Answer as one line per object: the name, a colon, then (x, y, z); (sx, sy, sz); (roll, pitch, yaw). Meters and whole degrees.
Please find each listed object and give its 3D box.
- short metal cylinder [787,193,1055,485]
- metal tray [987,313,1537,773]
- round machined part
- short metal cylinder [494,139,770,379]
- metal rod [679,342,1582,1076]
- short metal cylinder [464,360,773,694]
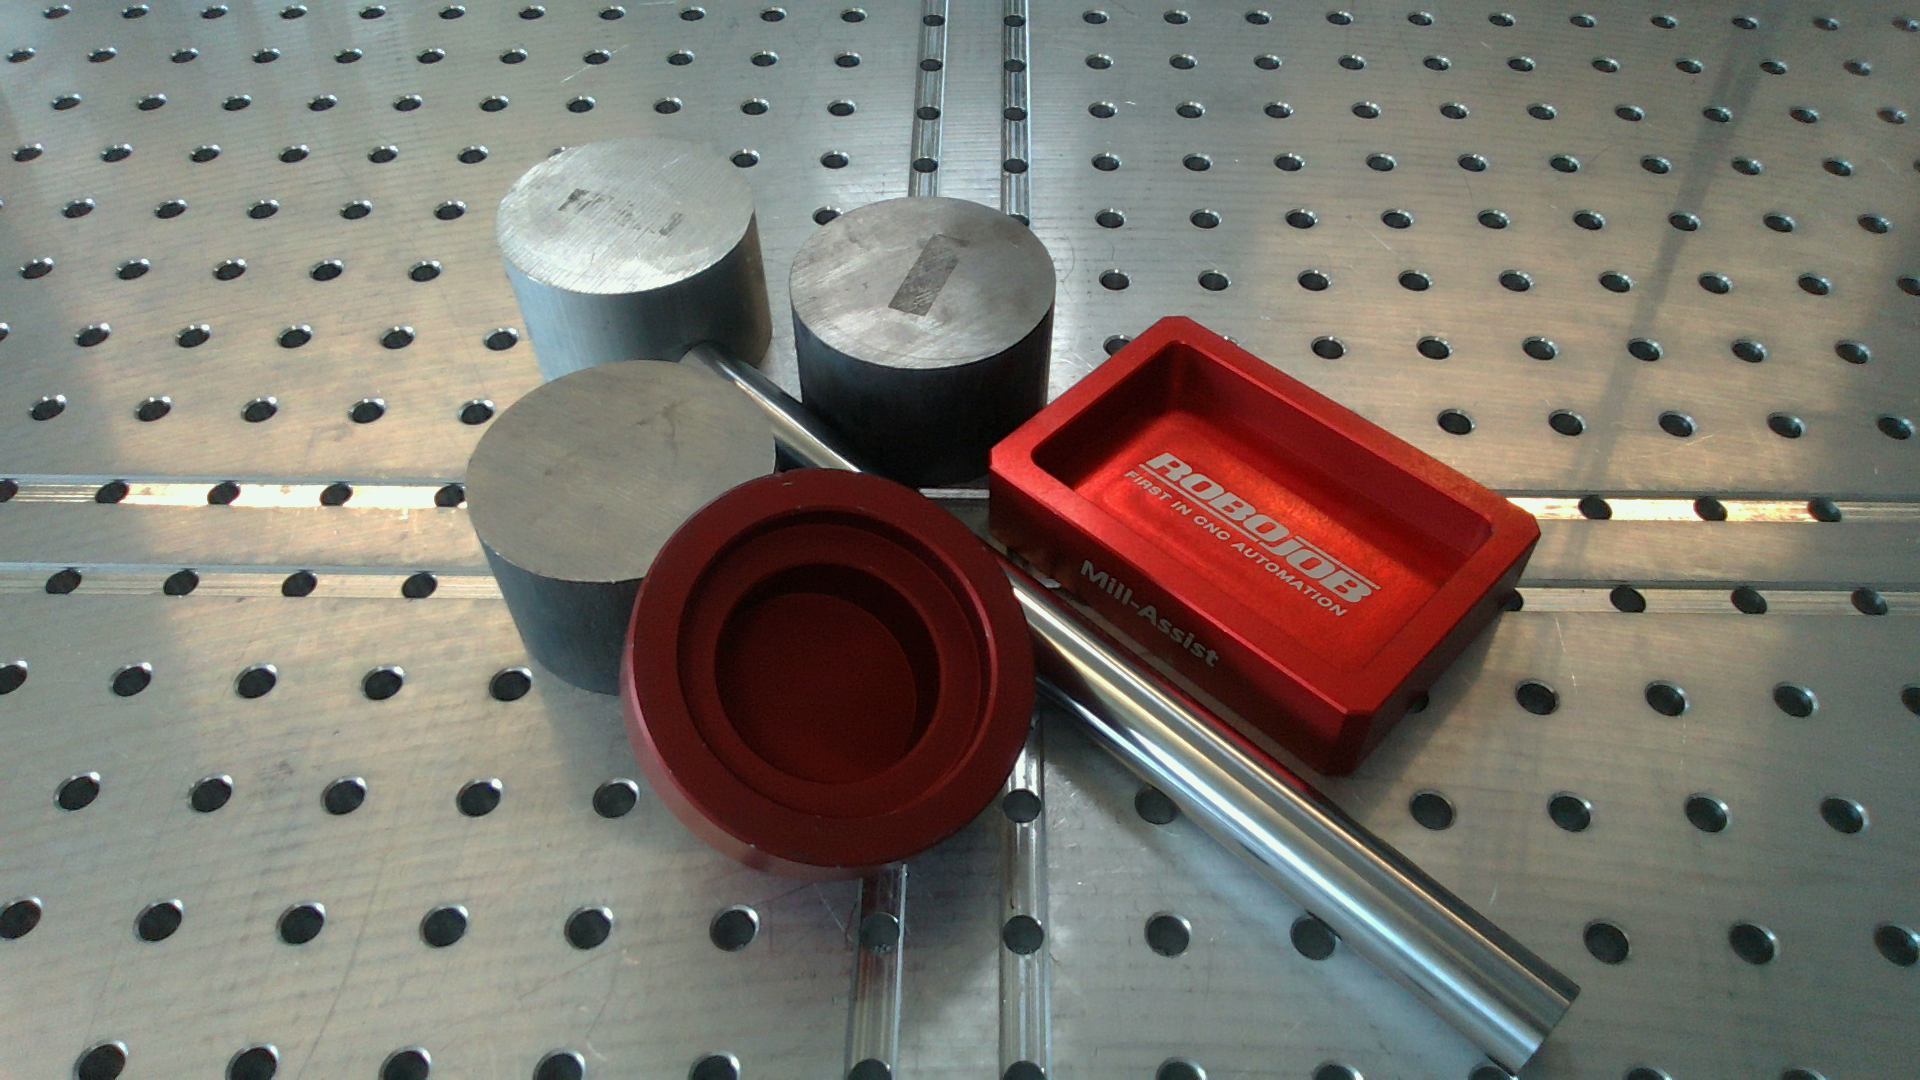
short metal cylinder: (-0.012, -0.064, 0.431); (0.080, 0.050, 0.080); (0, 50, 0)
metal tray: (0.082, -0.005, 0.395); (0.130, 0.030, 0.090); (36, 59, 26)
round machined part: (-0.035, 0.035, 0.340); (0.098, 0.042, 0.098); (8, 64, -16)
short metal cylinder: (-0.105, -0.087, 0.452); (0.080, 0.050, 0.080); (0, 50, 0)
metal rod: (0.023, 0.028, 0.371); (0.299, 0.025, 0.025); (37, 59, 27)
short metal cylinder: (-0.089, -0.004, 0.381); (0.080, 0.050, 0.080); (0, 50, 0)
